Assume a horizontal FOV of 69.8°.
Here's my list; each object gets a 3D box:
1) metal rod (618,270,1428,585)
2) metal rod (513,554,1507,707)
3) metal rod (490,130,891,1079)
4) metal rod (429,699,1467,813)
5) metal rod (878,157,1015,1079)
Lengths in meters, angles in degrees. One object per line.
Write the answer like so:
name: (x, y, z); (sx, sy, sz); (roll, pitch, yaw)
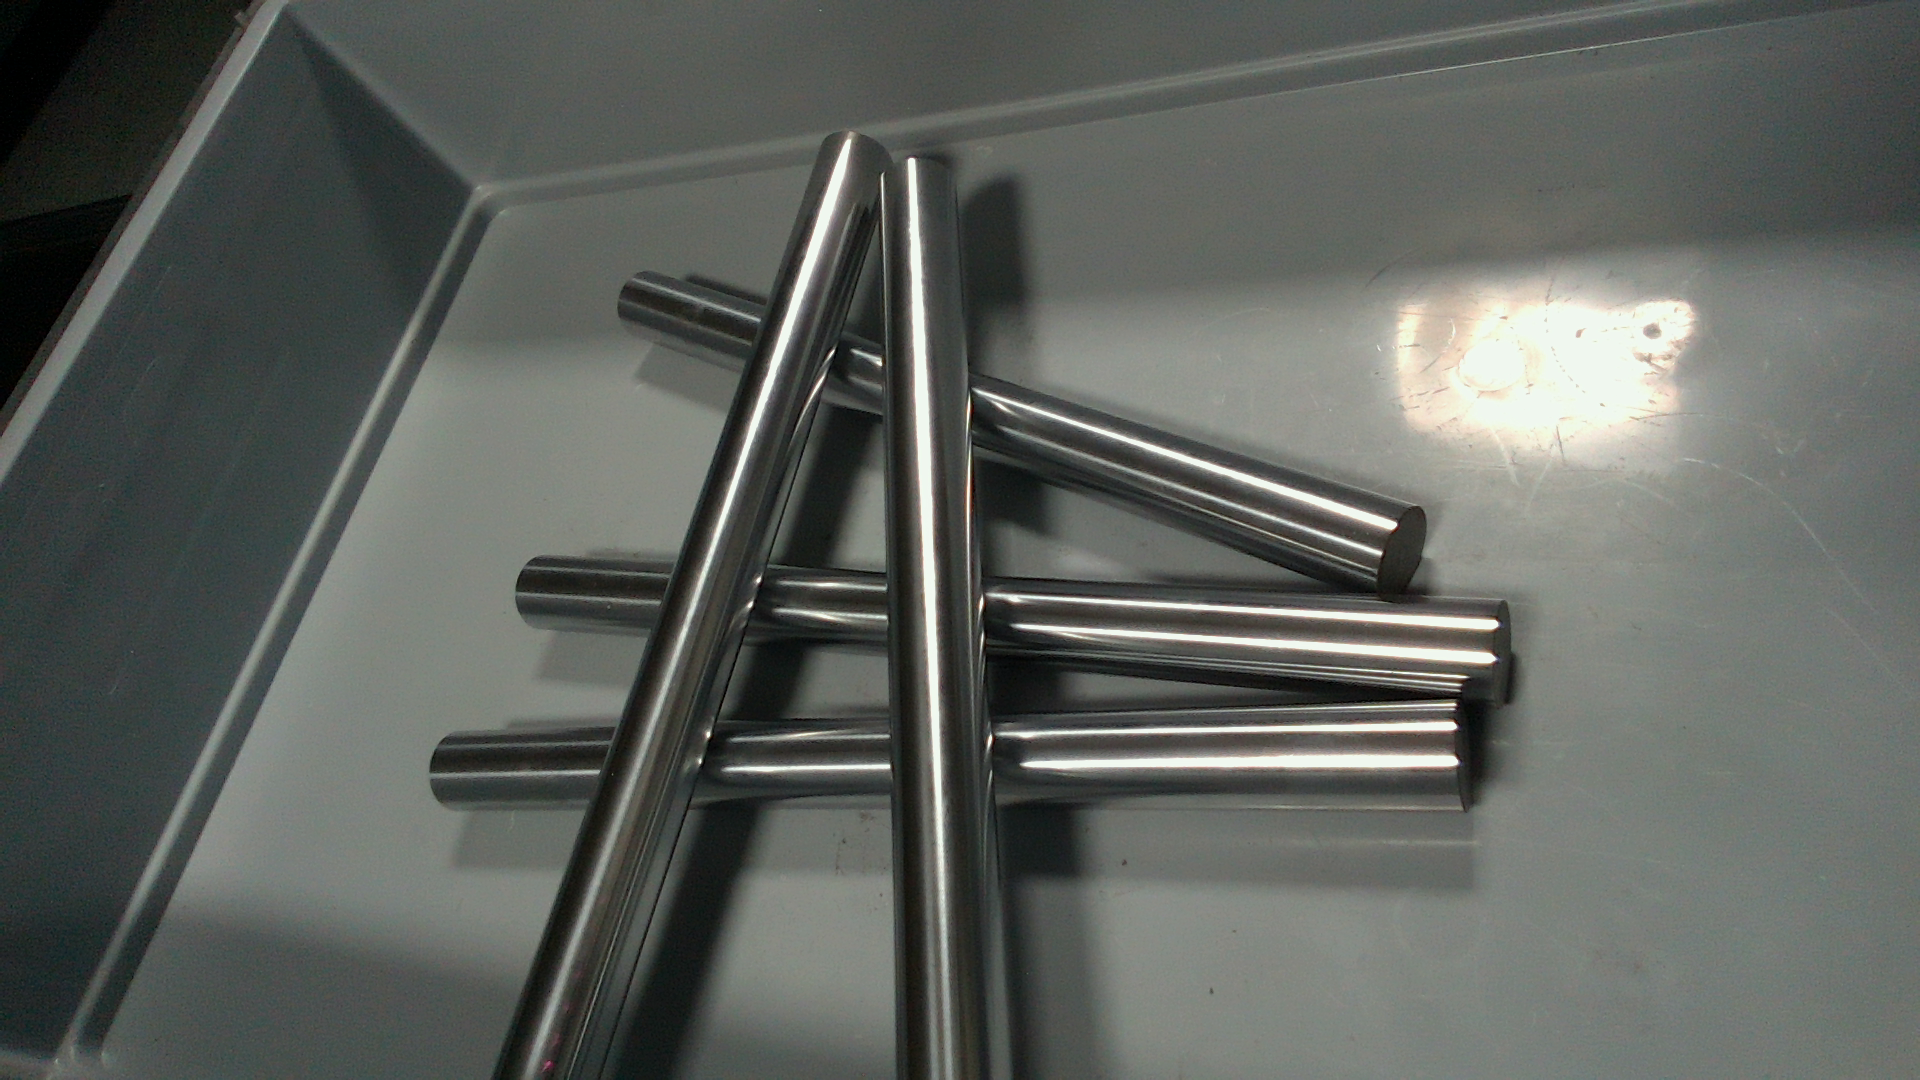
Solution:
metal rod: (-0.005, -0.042, 0.420); (0.299, 0.025, 0.025); (22, 74, 36)
metal rod: (-0.008, 0.021, 0.383); (0.299, 0.025, 0.025); (2, 62, 29)
metal rod: (-0.069, 0.005, 0.393); (0.025, 0.025, 0.300); (0, 61, 29)
metal rod: (-0.023, 0.060, 0.368); (0.299, 0.025, 0.025); (-5, 59, 26)
metal rod: (-0.006, 0.014, 0.355); (0.025, 0.025, 0.300); (-16, 55, 19)
